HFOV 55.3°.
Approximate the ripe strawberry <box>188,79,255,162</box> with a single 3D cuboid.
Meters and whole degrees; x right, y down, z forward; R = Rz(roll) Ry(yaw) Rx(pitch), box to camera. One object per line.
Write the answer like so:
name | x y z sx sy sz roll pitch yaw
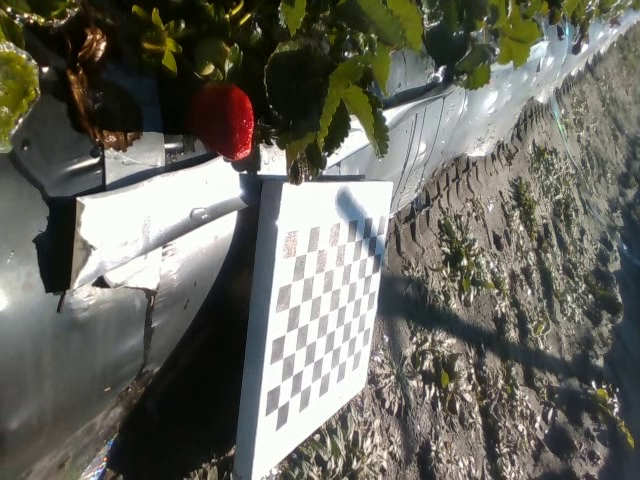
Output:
ripe strawberry | -0.066 -0.080 0.448 0.057 0.065 0.062 -28 -30 2
